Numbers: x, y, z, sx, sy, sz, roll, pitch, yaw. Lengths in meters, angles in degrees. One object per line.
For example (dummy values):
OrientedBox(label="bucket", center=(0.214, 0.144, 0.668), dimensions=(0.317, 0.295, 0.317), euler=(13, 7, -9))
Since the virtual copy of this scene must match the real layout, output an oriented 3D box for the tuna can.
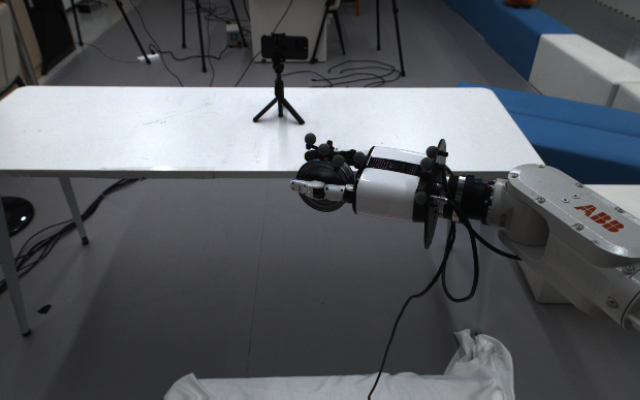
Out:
OrientedBox(label="tuna can", center=(0.010, -0.028, 0.737), dimensions=(0.085, 0.085, 0.034), euler=(16, 28, 19))
